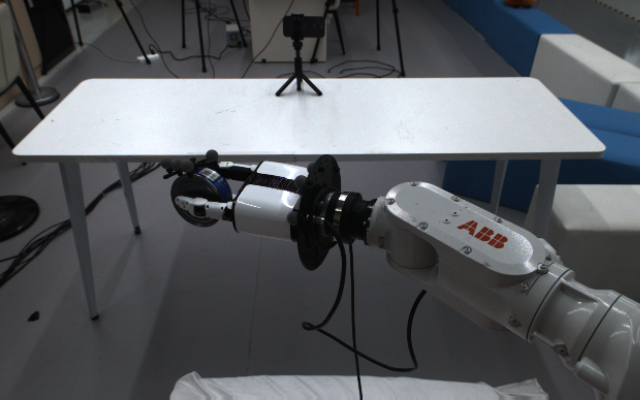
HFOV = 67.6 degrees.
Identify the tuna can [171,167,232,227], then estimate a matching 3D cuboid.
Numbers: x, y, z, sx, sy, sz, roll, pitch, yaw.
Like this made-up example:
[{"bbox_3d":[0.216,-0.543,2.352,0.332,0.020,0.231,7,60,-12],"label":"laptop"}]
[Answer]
[{"bbox_3d":[-0.168,-0.003,0.713,0.085,0.085,0.034,12,28,14],"label":"tuna can"}]
